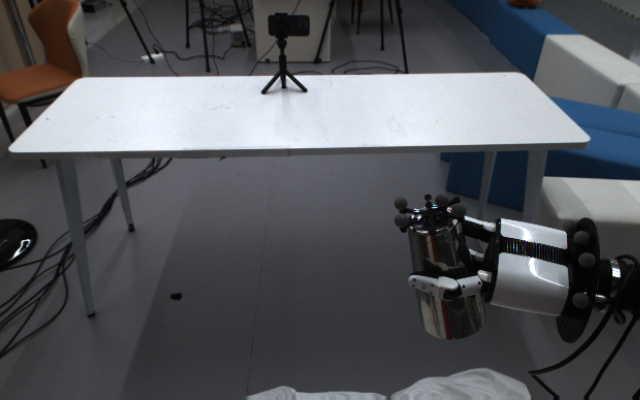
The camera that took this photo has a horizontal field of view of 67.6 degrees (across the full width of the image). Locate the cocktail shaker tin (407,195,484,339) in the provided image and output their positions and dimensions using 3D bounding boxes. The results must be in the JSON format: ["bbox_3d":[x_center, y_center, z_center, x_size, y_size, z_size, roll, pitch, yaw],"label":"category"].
[{"bbox_3d":[0.167,0.093,0.653,0.093,0.170,0.093,-15,29,8],"label":"cocktail shaker tin"}]
